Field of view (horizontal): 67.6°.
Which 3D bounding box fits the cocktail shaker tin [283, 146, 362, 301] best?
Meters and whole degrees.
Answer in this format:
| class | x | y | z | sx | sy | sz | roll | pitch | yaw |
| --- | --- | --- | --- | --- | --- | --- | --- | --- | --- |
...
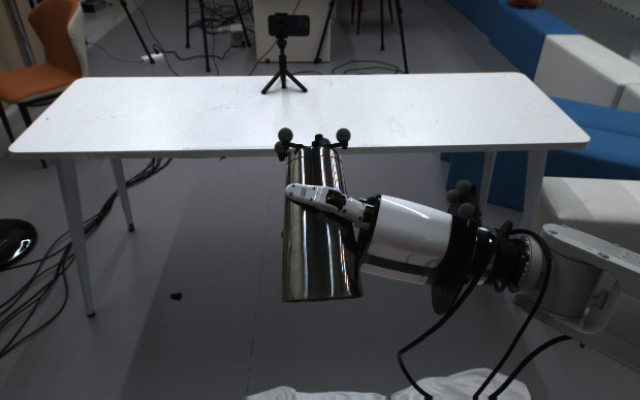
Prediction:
| class | x | y | z | sx | sy | sz | roll | pitch | yaw |
| --- | --- | --- | --- | --- | --- | --- | --- | --- | --- |
| cocktail shaker tin | -0.002 | 0.030 | 0.562 | 0.093 | 0.093 | 0.170 | -3 | 76 | -7 |
